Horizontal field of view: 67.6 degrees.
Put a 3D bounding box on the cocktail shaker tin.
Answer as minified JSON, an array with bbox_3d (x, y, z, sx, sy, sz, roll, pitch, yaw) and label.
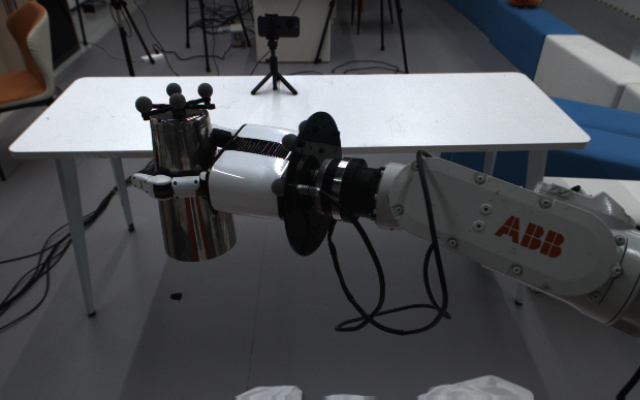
[{"bbox_3d":[-0.155,-0.022,0.588,0.093,0.170,0.093,-2,26,1],"label":"cocktail shaker tin"}]
